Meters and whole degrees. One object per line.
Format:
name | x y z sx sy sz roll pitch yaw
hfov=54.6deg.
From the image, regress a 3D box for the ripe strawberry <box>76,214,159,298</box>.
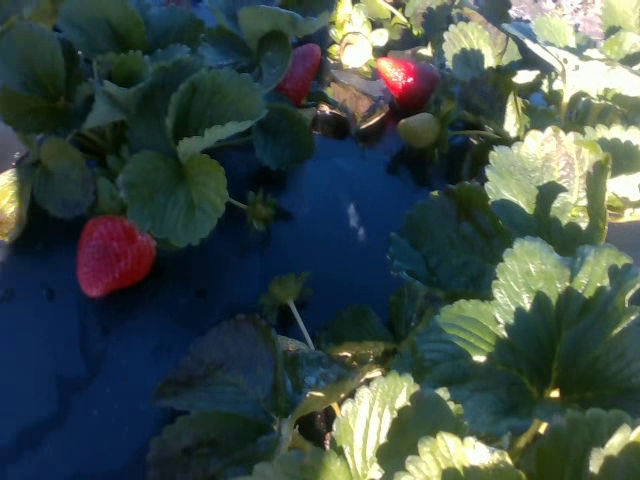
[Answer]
ripe strawberry | -0.115 0.011 0.327 0.045 0.059 0.042 -8 -38 31
